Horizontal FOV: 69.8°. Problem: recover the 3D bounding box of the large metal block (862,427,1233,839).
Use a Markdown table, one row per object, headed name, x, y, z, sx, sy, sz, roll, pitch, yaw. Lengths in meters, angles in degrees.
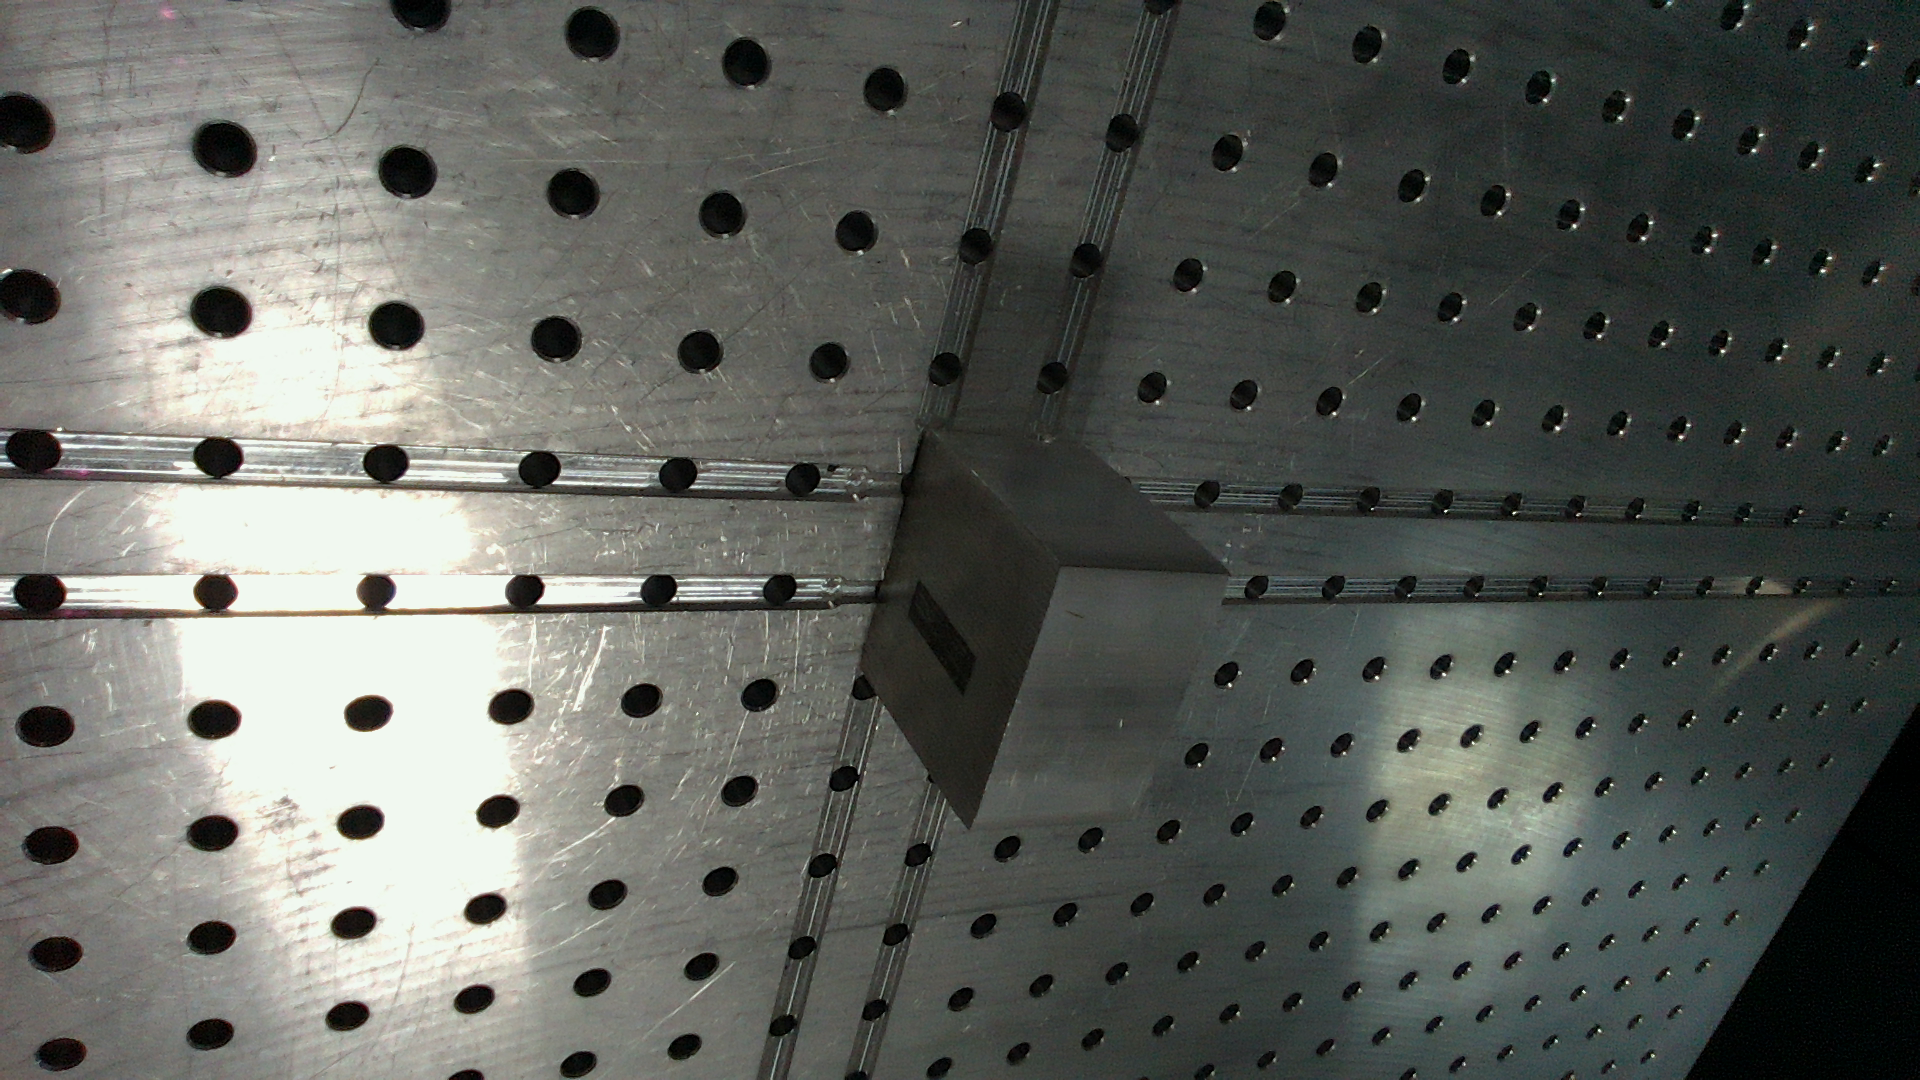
| name | x | y | z | sx | sy | sz | roll | pitch | yaw |
| --- | --- | --- | --- | --- | --- | --- | --- | --- | --- |
| large metal block | 0.020 | 0.024 | 0.381 | 0.050 | 0.080 | 0.080 | 3 | 117 | -30 |
